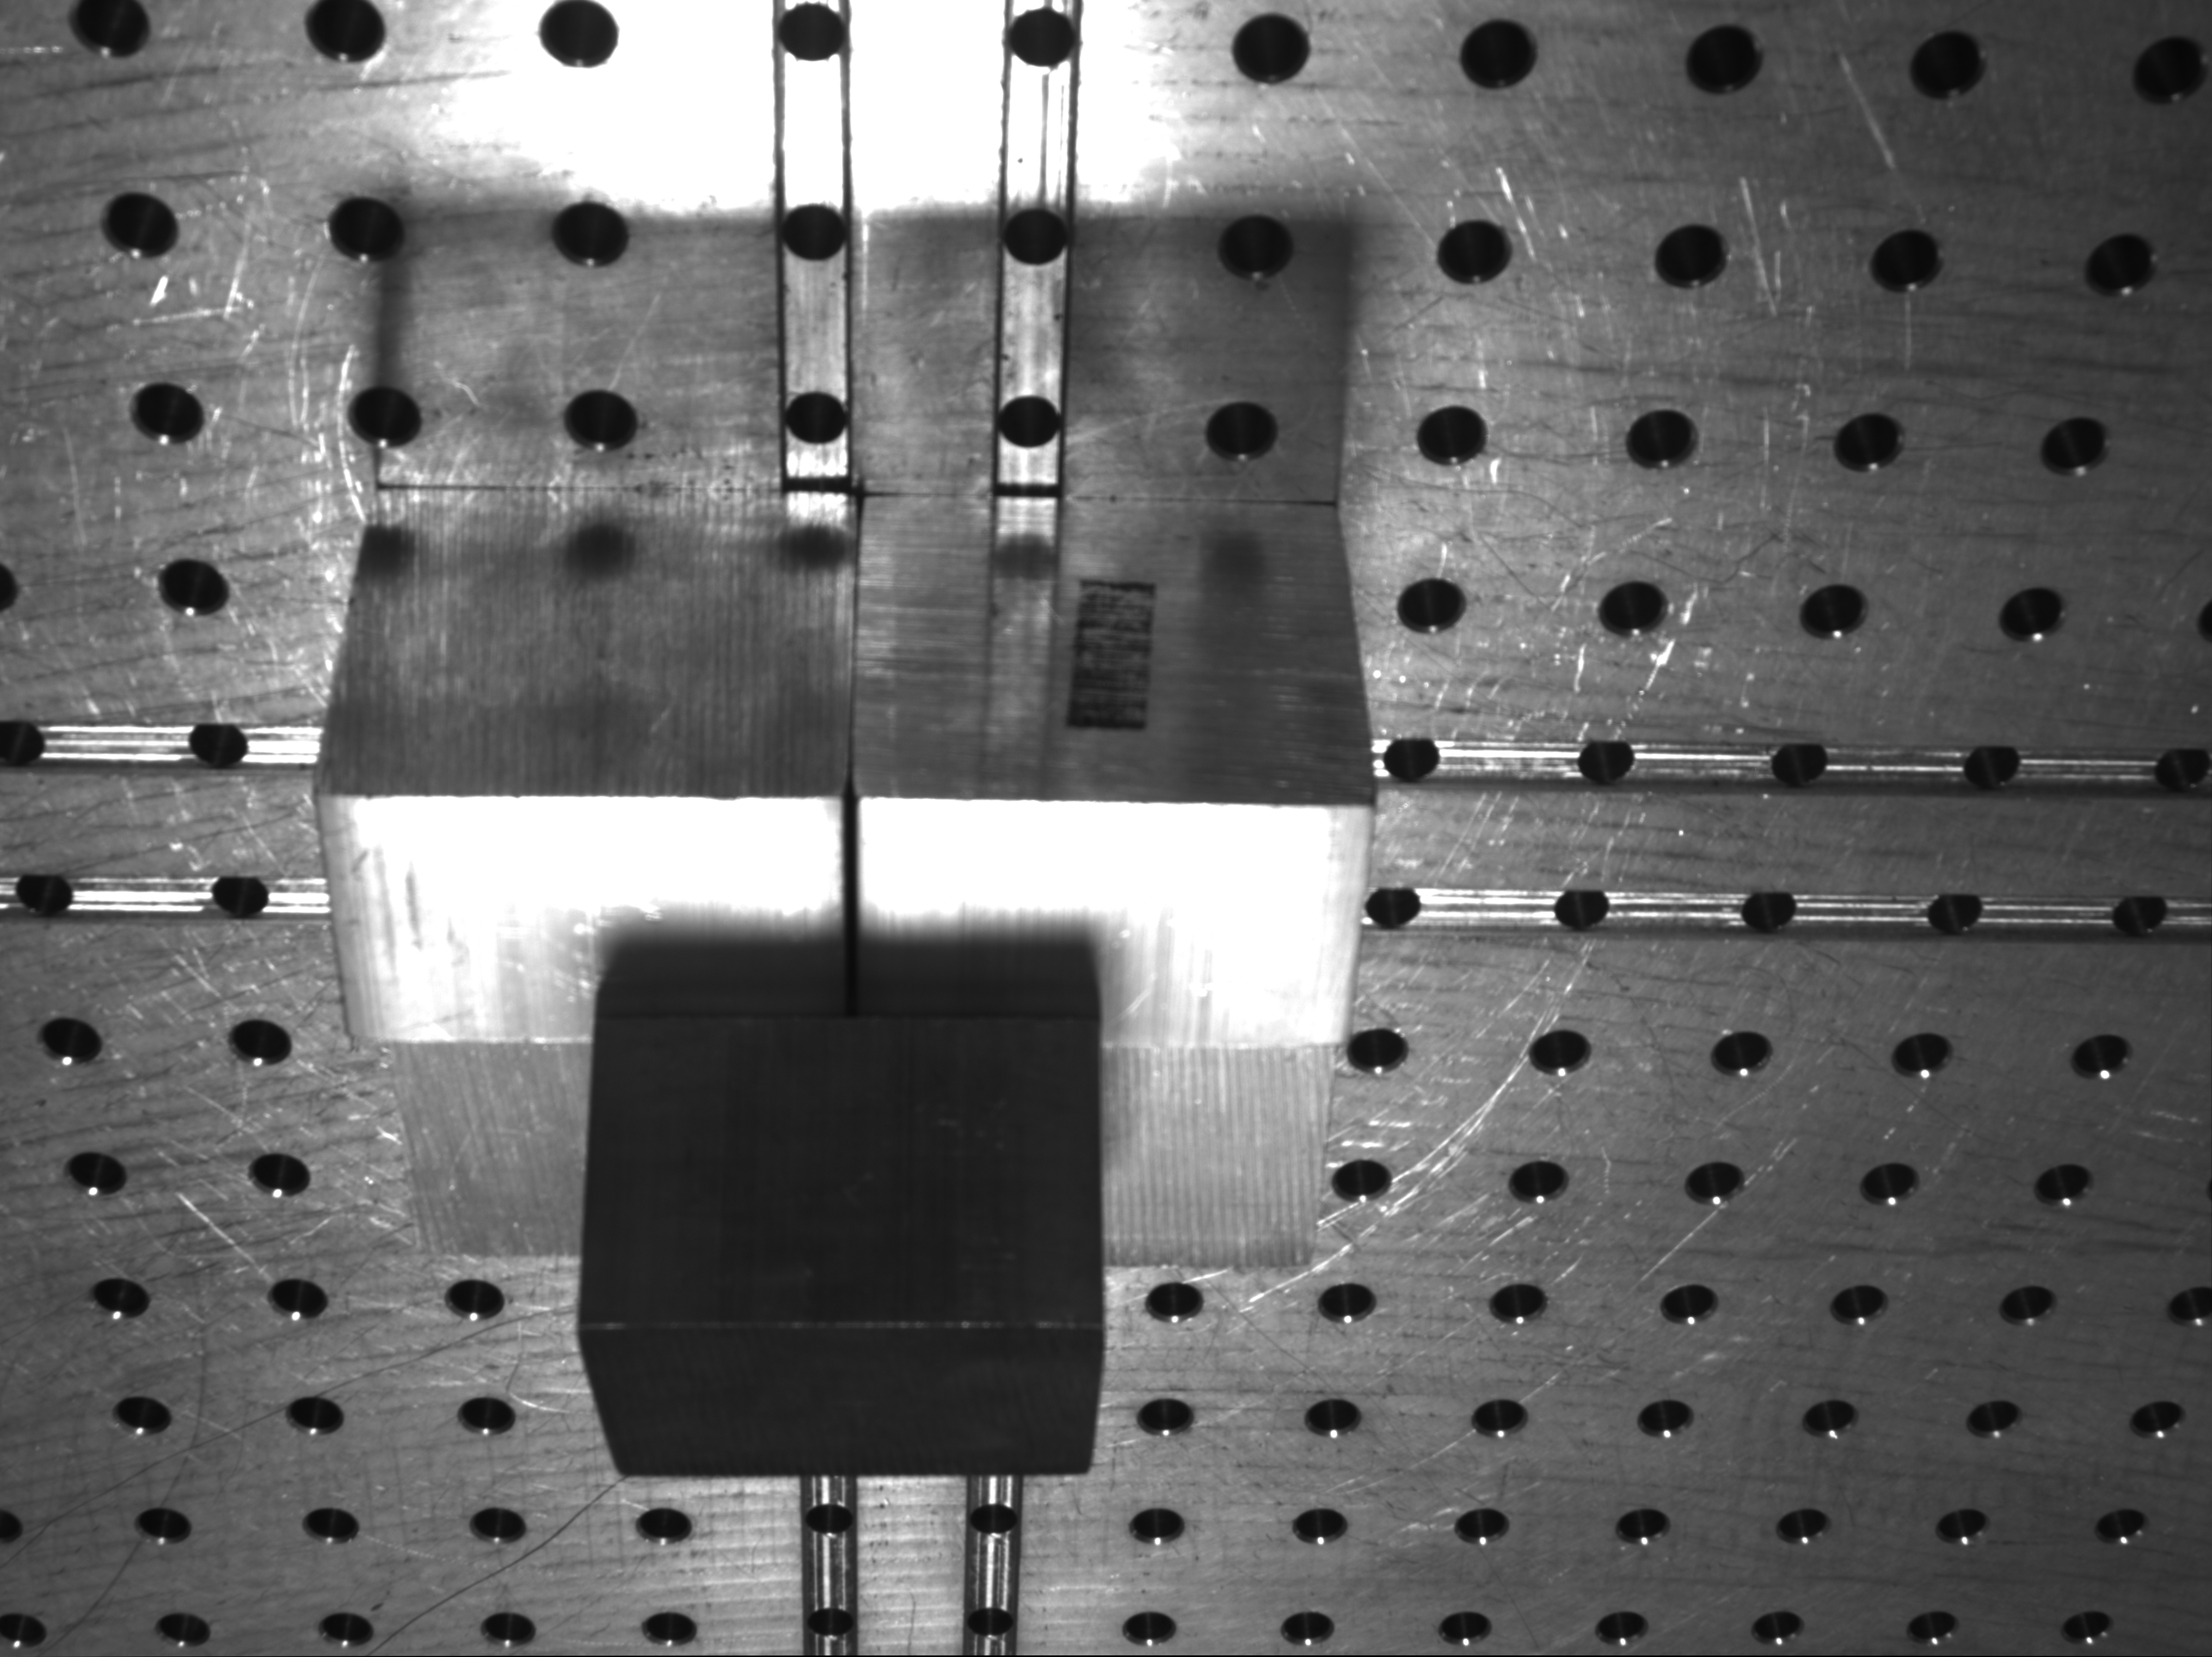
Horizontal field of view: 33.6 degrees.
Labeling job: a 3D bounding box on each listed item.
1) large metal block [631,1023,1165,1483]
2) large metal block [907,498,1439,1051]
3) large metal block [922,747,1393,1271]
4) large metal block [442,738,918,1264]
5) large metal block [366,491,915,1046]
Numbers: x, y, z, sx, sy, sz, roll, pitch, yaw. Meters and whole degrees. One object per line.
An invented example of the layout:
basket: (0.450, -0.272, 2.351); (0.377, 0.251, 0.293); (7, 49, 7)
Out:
large metal block: (-0.032, 0.071, 0.596); (0.080, 0.050, 0.080); (0, 154, -2)
large metal block: (0.009, -0.010, 0.596); (0.080, 0.080, 0.050); (1, 130, -2)
large metal block: (0.008, 0.032, 0.649); (0.080, 0.050, 0.080); (1, 130, -2)
large metal block: (-0.073, 0.031, 0.646); (0.080, 0.050, 0.080); (1, 130, -2)
large metal block: (-0.072, -0.011, 0.593); (0.080, 0.080, 0.050); (1, 130, -2)
